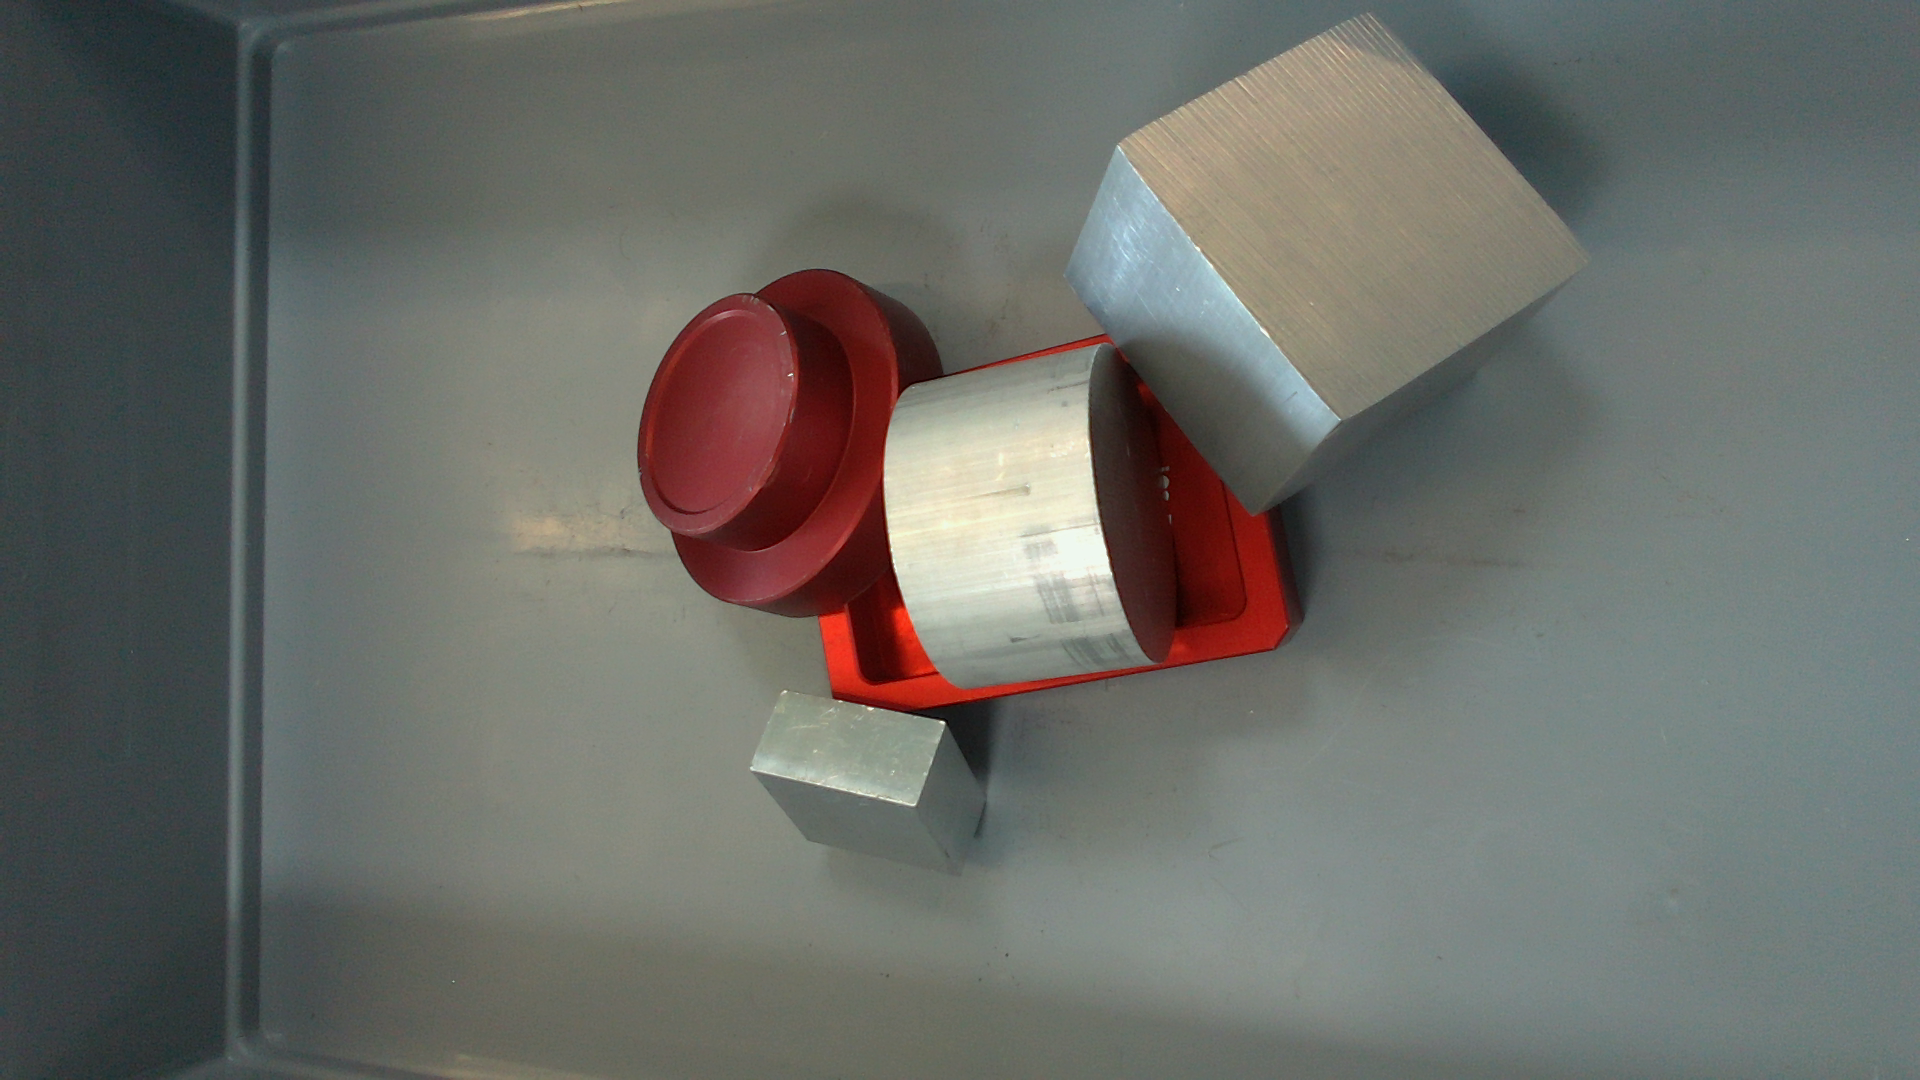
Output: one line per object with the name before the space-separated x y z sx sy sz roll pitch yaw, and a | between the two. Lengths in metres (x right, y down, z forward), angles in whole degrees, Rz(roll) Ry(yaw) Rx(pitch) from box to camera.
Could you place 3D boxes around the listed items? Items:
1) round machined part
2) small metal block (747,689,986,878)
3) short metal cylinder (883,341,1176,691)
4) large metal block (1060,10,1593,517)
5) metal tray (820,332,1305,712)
round machined part | -0.054 -0.030 0.385 0.098 0.042 0.098 -16 66 40
small metal block | -0.025 0.069 0.388 0.050 0.050 0.025 8 59 21
short metal cylinder | 0.020 -0.005 0.345 0.050 0.080 0.080 -10 87 19
large metal block | 0.085 -0.066 0.330 0.080 0.050 0.080 -32 77 -20
metal tray | 0.022 -0.004 0.385 0.130 0.030 0.090 -12 86 19
